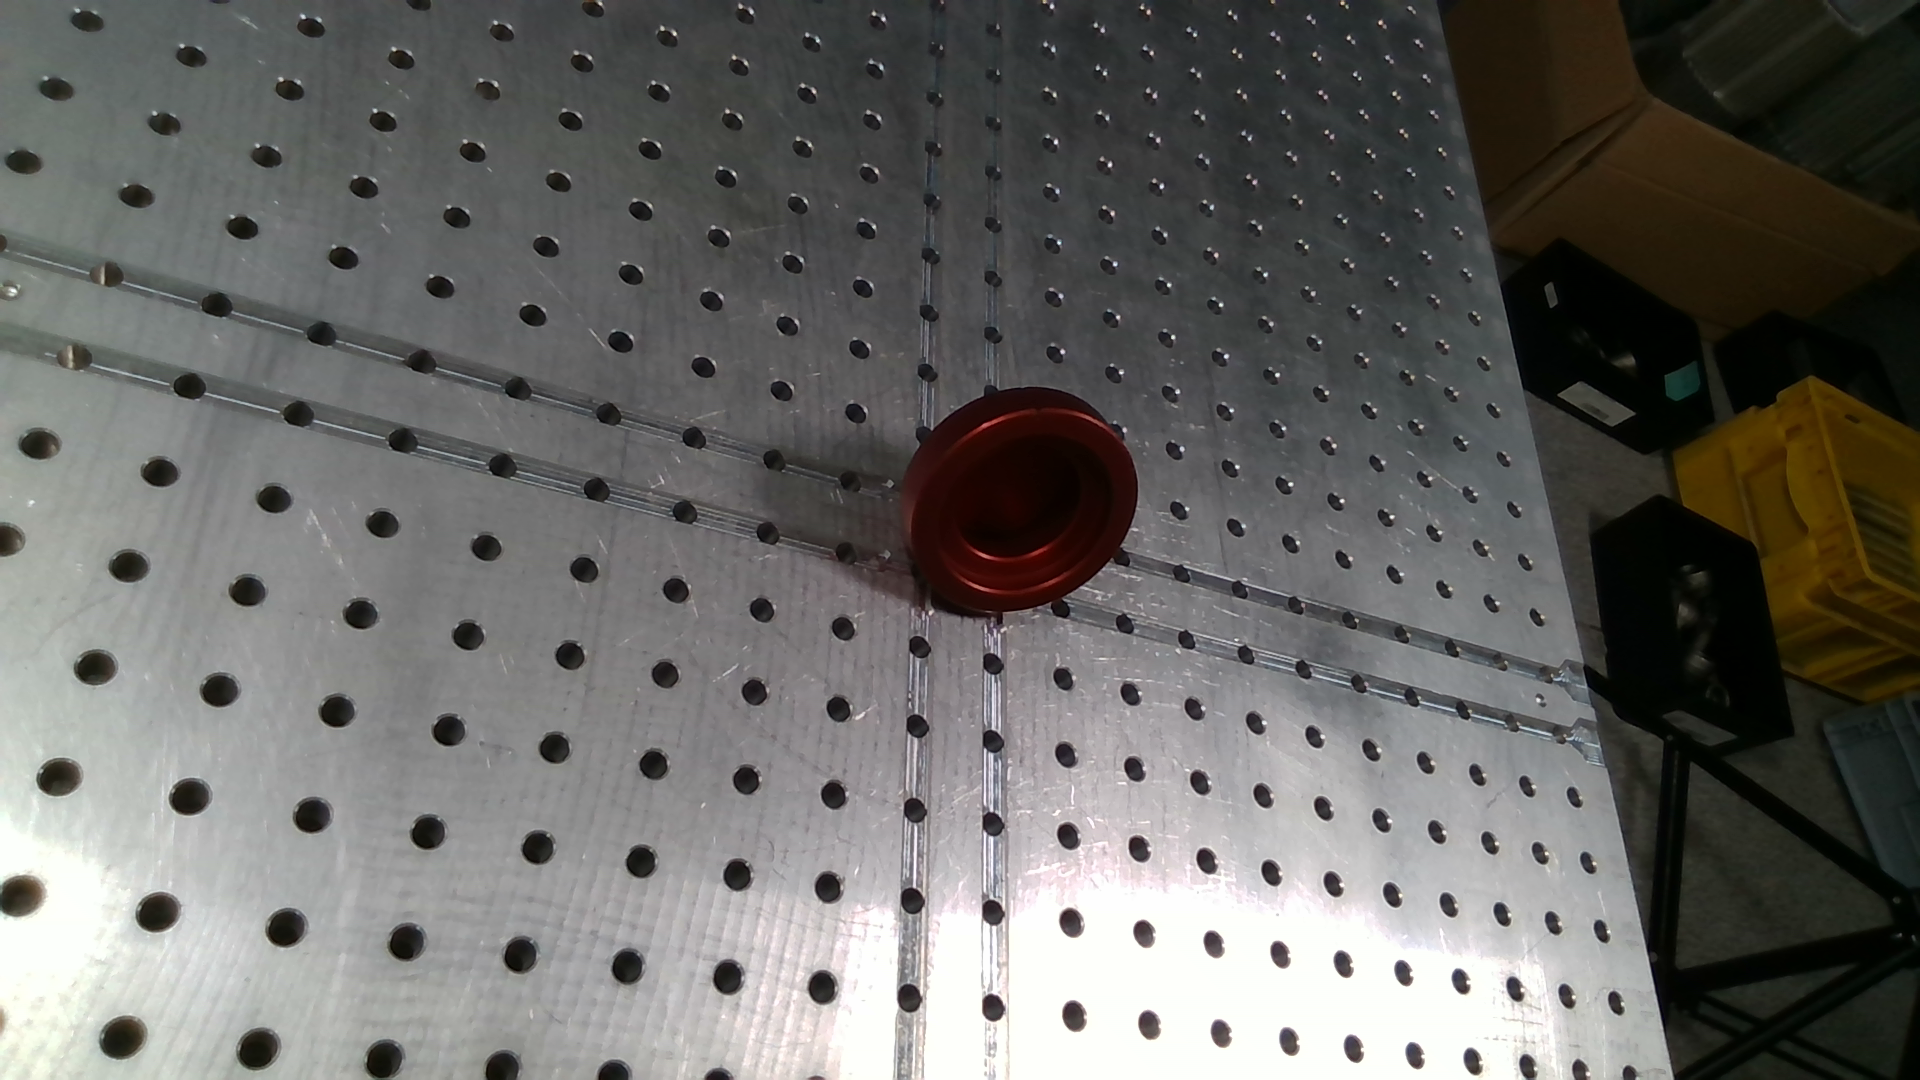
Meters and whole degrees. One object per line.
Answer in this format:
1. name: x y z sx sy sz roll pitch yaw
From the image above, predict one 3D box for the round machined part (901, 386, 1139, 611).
1. round machined part: 0.022 -0.022 0.578 0.098 0.098 0.042 12 28 -26
